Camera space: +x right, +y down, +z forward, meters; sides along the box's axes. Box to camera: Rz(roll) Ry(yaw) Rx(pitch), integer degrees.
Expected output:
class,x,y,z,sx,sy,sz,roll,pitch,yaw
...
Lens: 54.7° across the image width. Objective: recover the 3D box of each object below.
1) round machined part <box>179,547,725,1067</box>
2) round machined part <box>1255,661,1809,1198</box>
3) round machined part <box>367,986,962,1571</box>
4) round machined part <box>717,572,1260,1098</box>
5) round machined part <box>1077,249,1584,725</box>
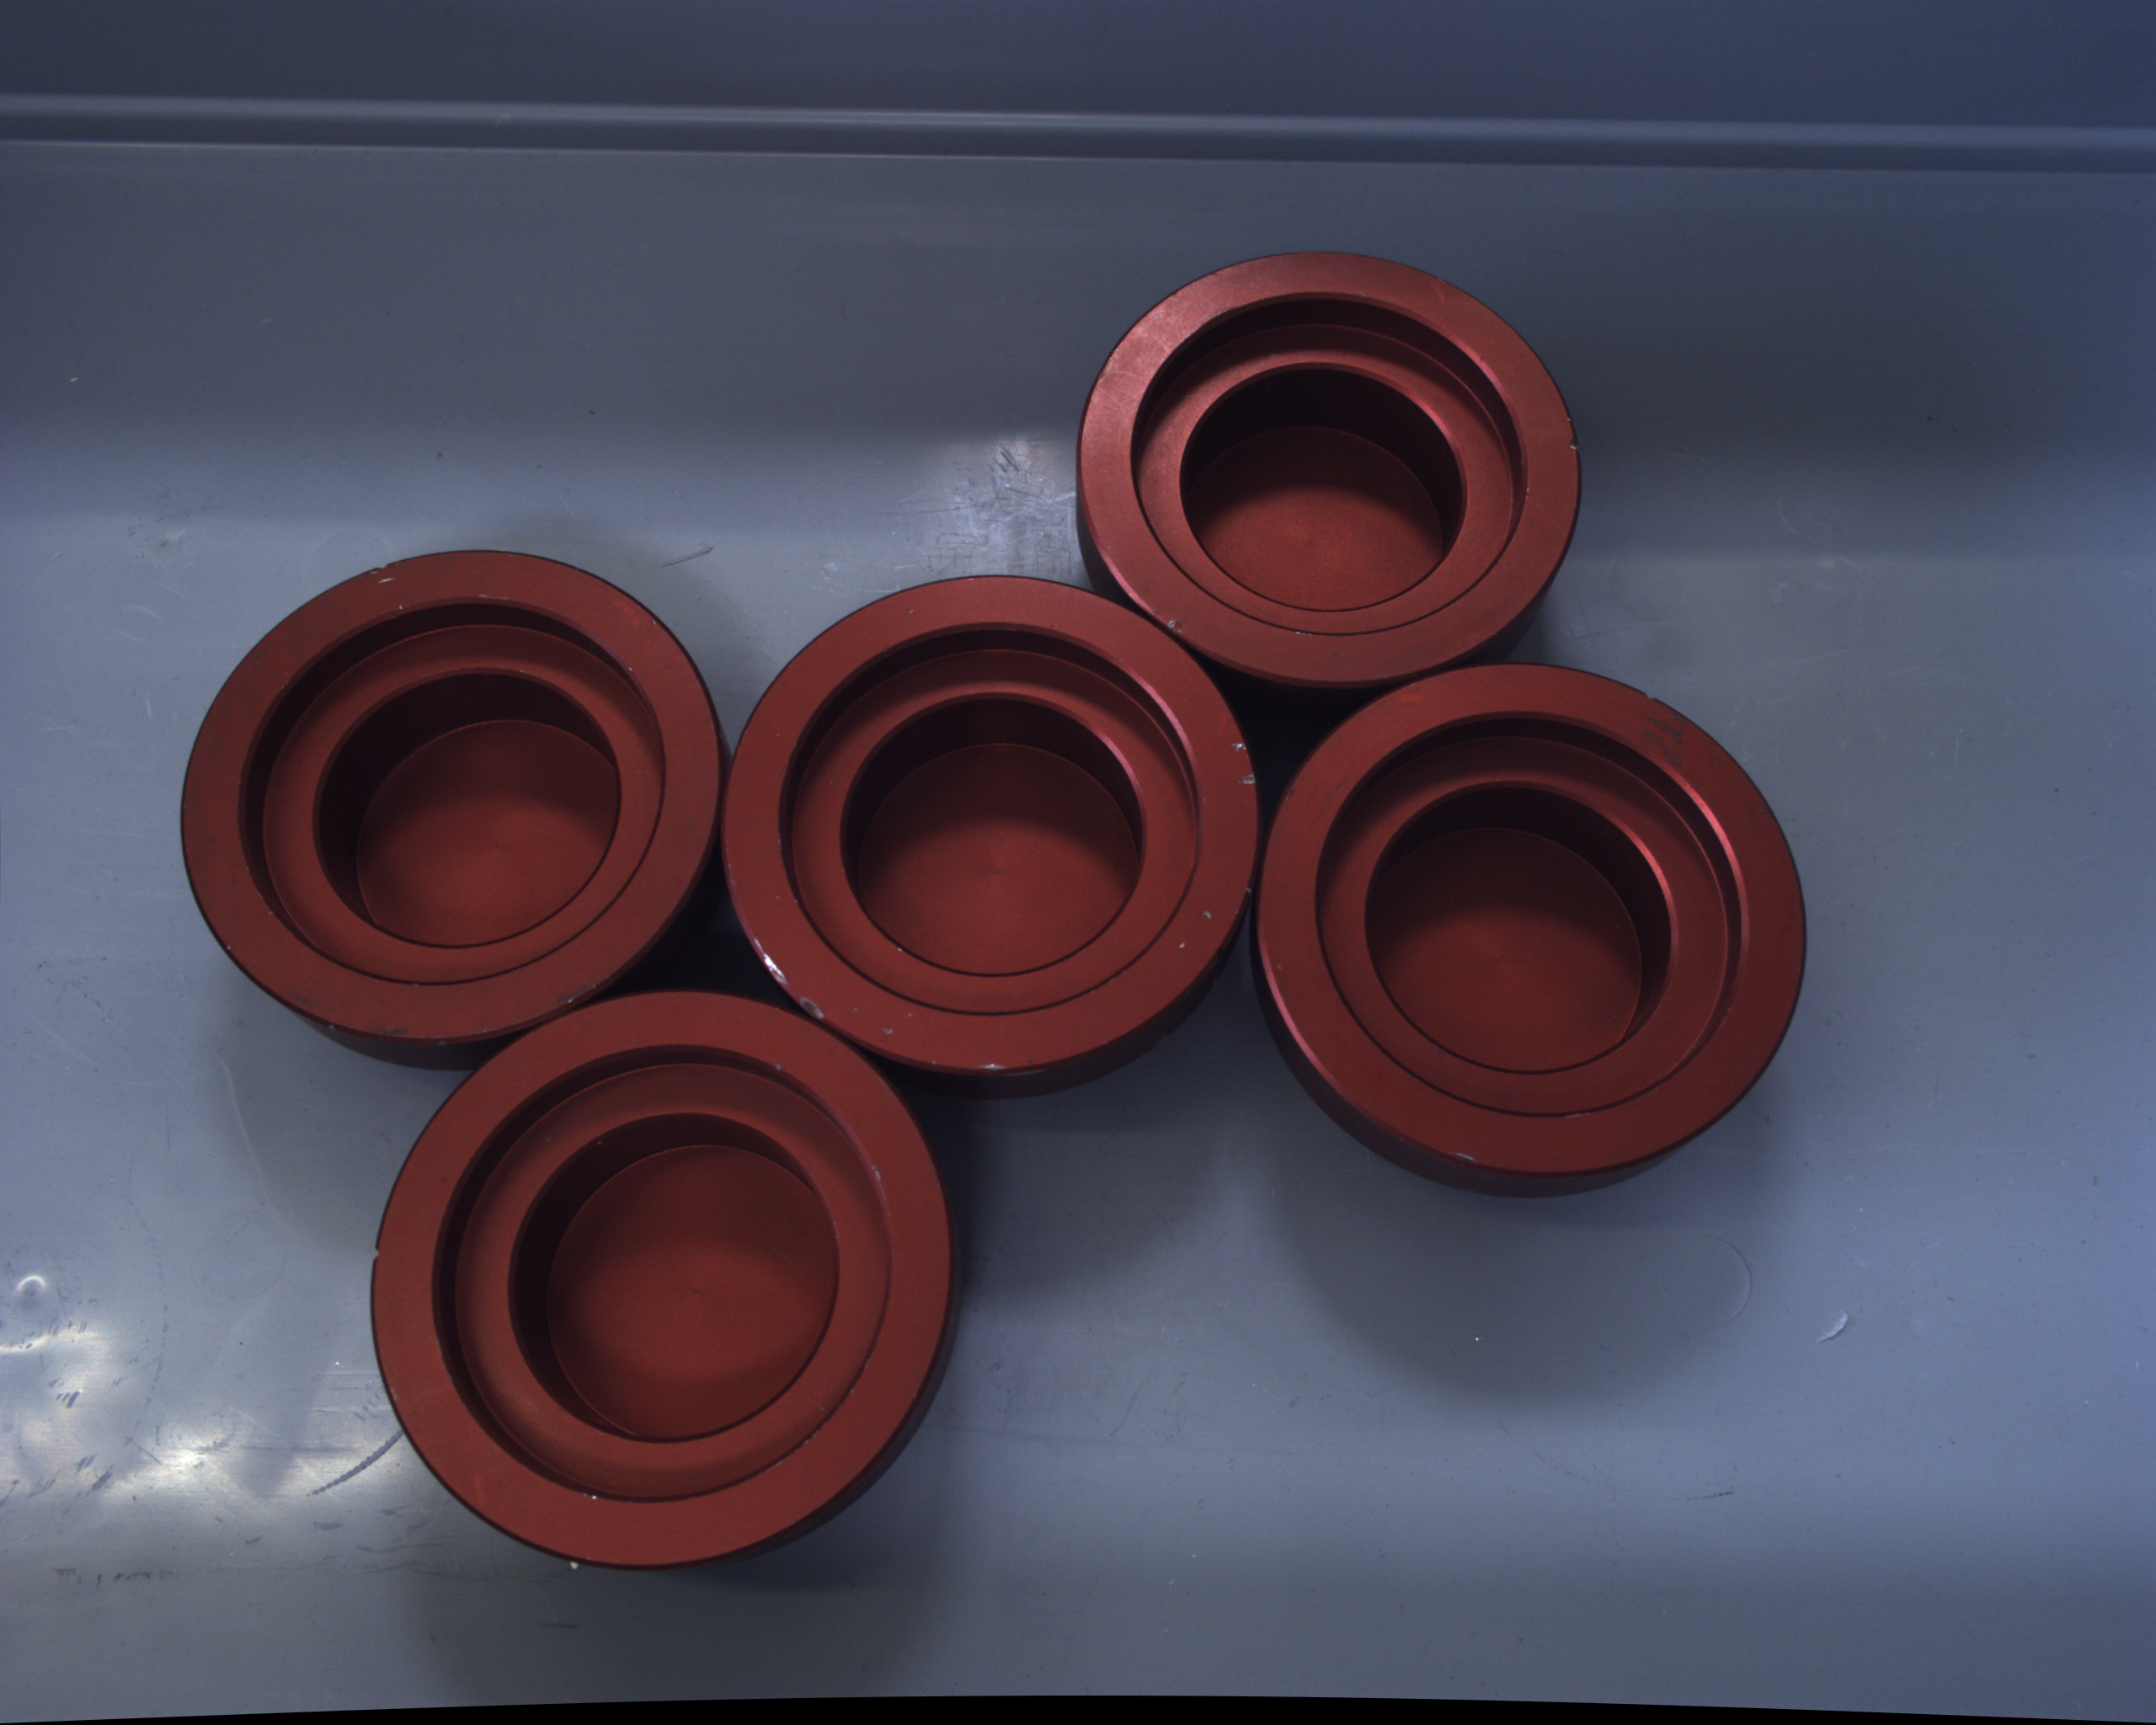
class,x,y,z,sx,sy,sz,roll,pitch,yaw
round machined part,-0.114,-0.008,0.400,0.099,0.042,0.098,0,70,0
round machined part,0.082,0.015,0.393,0.099,0.042,0.098,0,70,0
round machined part,-0.070,0.074,0.370,0.099,0.042,0.098,0,70,0
round machined part,-0.016,-0.003,0.398,0.099,0.042,0.098,0,70,0
round machined part,0.049,-0.072,0.424,0.099,0.042,0.098,0,70,0
